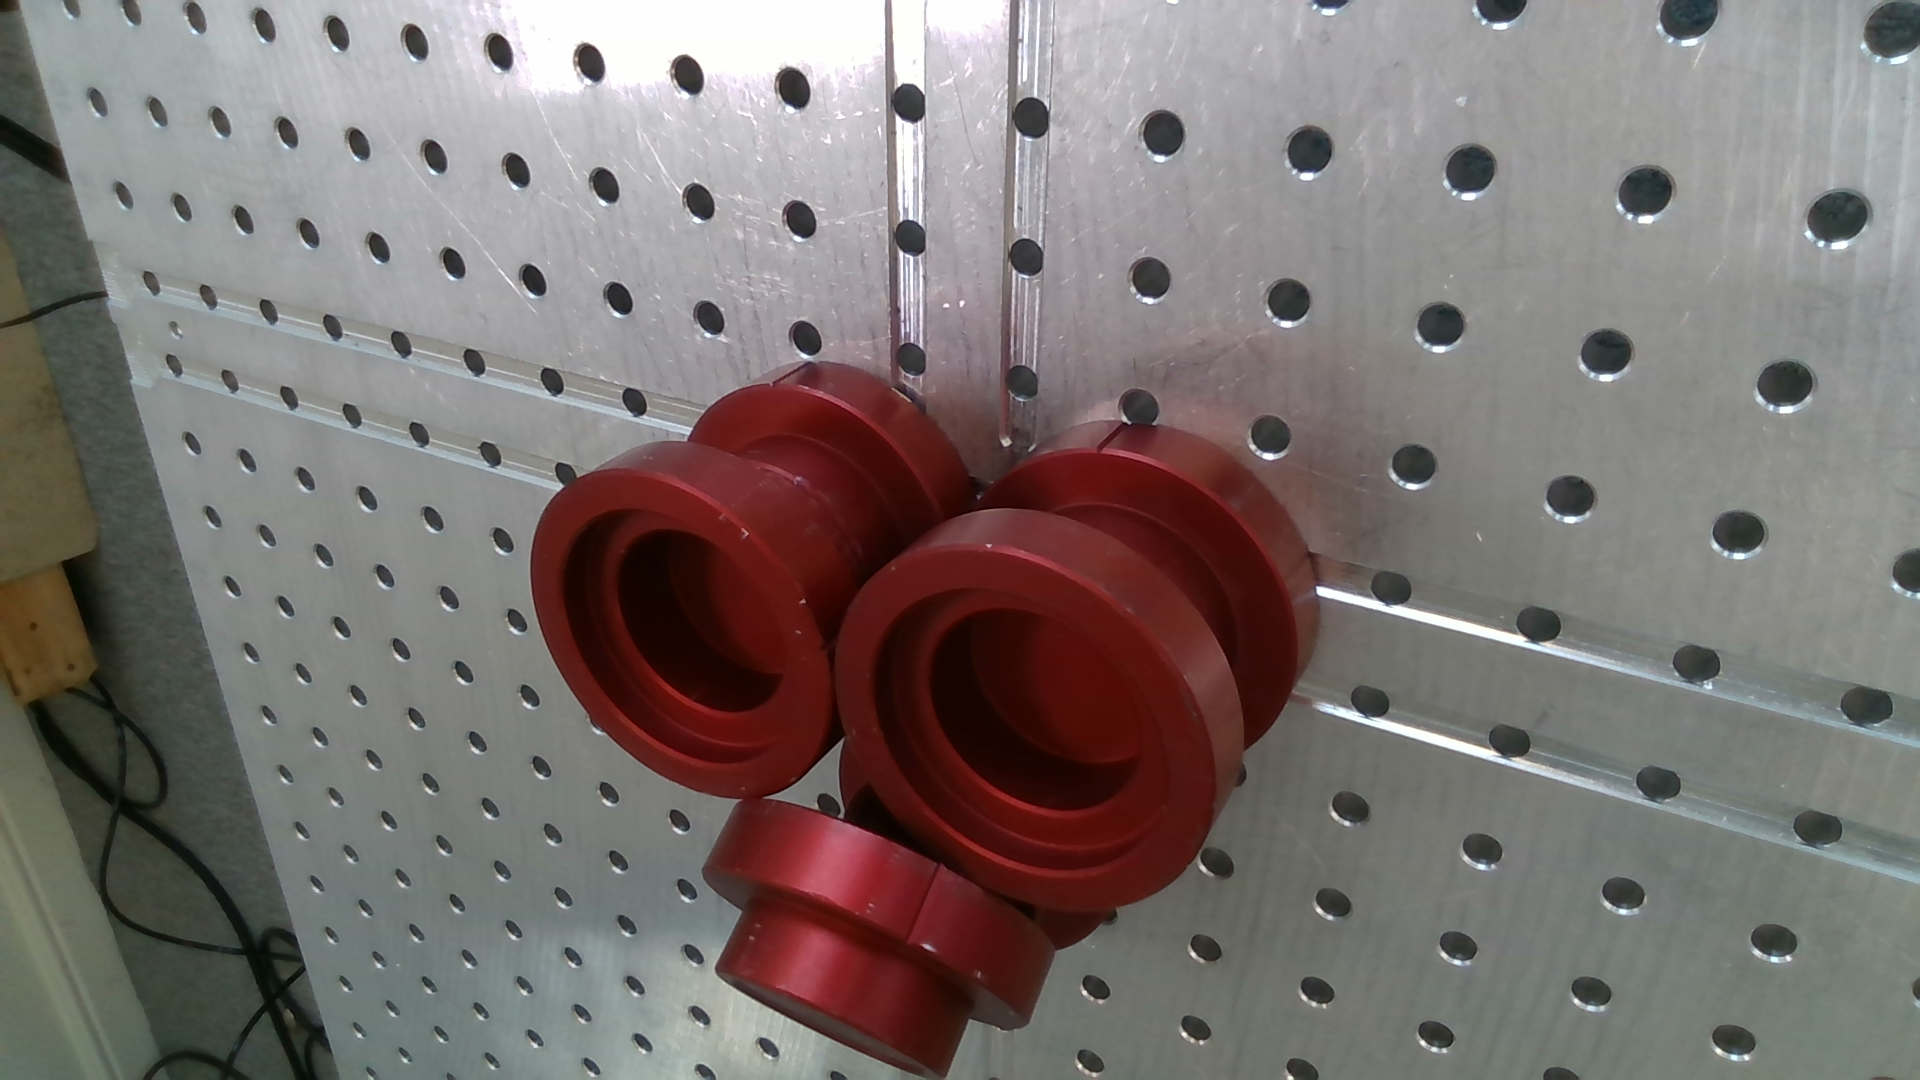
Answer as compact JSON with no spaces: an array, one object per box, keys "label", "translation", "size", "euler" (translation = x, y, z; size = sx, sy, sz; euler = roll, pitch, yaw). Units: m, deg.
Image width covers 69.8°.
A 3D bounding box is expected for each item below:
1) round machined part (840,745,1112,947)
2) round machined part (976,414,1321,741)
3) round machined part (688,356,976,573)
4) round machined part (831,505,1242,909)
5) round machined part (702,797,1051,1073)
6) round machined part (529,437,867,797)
[{"label":"round machined part","translation":[0.003,0.088,0.427],"size":[0.098,0.042,0.098],"euler":[14,122,25]},{"label":"round machined part","translation":[0.042,0.020,0.366],"size":[0.098,0.042,0.098],"euler":[14,122,25]},{"label":"round machined part","translation":[-0.045,-0.001,0.408],"size":[0.098,0.042,0.098],"euler":[14,122,25]},{"label":"round machined part","translation":[0.021,0.036,0.332],"size":[0.098,0.042,0.098],"euler":[14,122,25]},{"label":"round machined part","translation":[-0.027,0.112,0.376],"size":[0.098,0.042,0.098],"euler":[21,156,10]},{"label":"round machined part","translation":[-0.066,0.017,0.375],"size":[0.098,0.042,0.098],"euler":[14,122,25]}]
